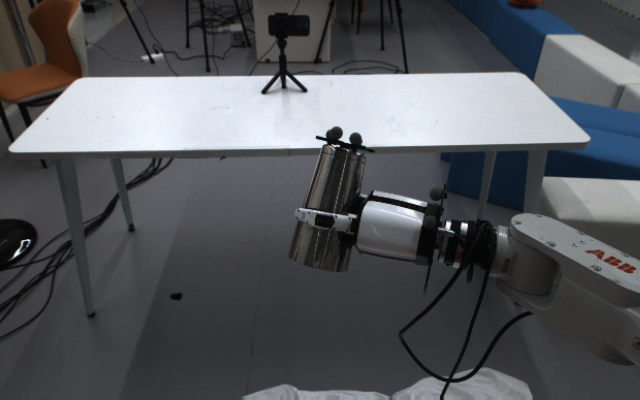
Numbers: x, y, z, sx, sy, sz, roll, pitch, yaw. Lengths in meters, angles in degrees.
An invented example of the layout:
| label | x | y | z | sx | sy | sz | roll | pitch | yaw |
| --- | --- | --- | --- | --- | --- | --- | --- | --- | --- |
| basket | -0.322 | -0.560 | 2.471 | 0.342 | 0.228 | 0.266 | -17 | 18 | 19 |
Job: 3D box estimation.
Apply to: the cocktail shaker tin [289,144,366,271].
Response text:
| label | x | y | z | sx | sy | sz | roll | pitch | yaw |
| --- | --- | --- | --- | --- | --- | --- | --- | --- | --- |
| cocktail shaker tin | 0.017 | 0.009 | 0.711 | 0.093 | 0.170 | 0.093 | 13 | 4 | -1 |
